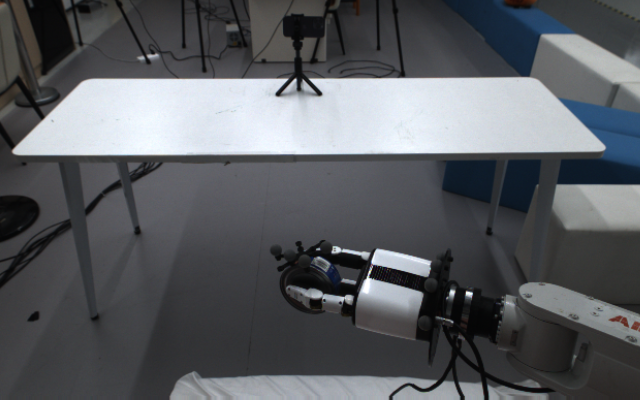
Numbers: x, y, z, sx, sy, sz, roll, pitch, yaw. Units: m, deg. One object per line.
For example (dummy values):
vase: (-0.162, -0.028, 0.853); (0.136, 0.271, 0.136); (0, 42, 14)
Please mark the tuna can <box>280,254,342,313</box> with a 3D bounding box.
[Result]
tuna can: (-0.011, 0.126, 0.701); (0.085, 0.085, 0.034); (13, 28, 15)
